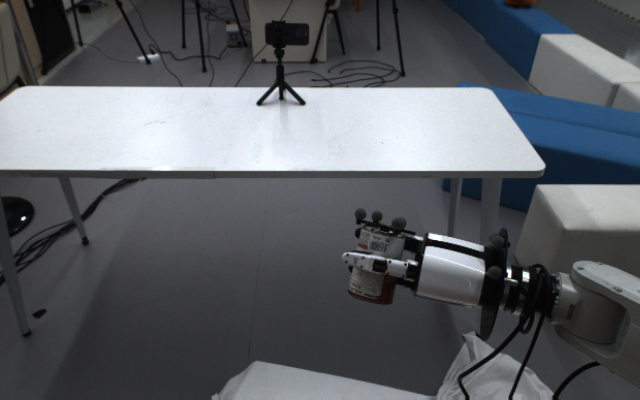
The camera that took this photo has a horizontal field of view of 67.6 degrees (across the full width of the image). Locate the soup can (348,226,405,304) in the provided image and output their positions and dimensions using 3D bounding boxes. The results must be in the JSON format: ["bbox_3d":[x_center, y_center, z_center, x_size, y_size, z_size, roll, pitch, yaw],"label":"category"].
[{"bbox_3d":[0.085,0.093,0.707,0.067,0.101,0.067,12,2,0],"label":"soup can"}]
